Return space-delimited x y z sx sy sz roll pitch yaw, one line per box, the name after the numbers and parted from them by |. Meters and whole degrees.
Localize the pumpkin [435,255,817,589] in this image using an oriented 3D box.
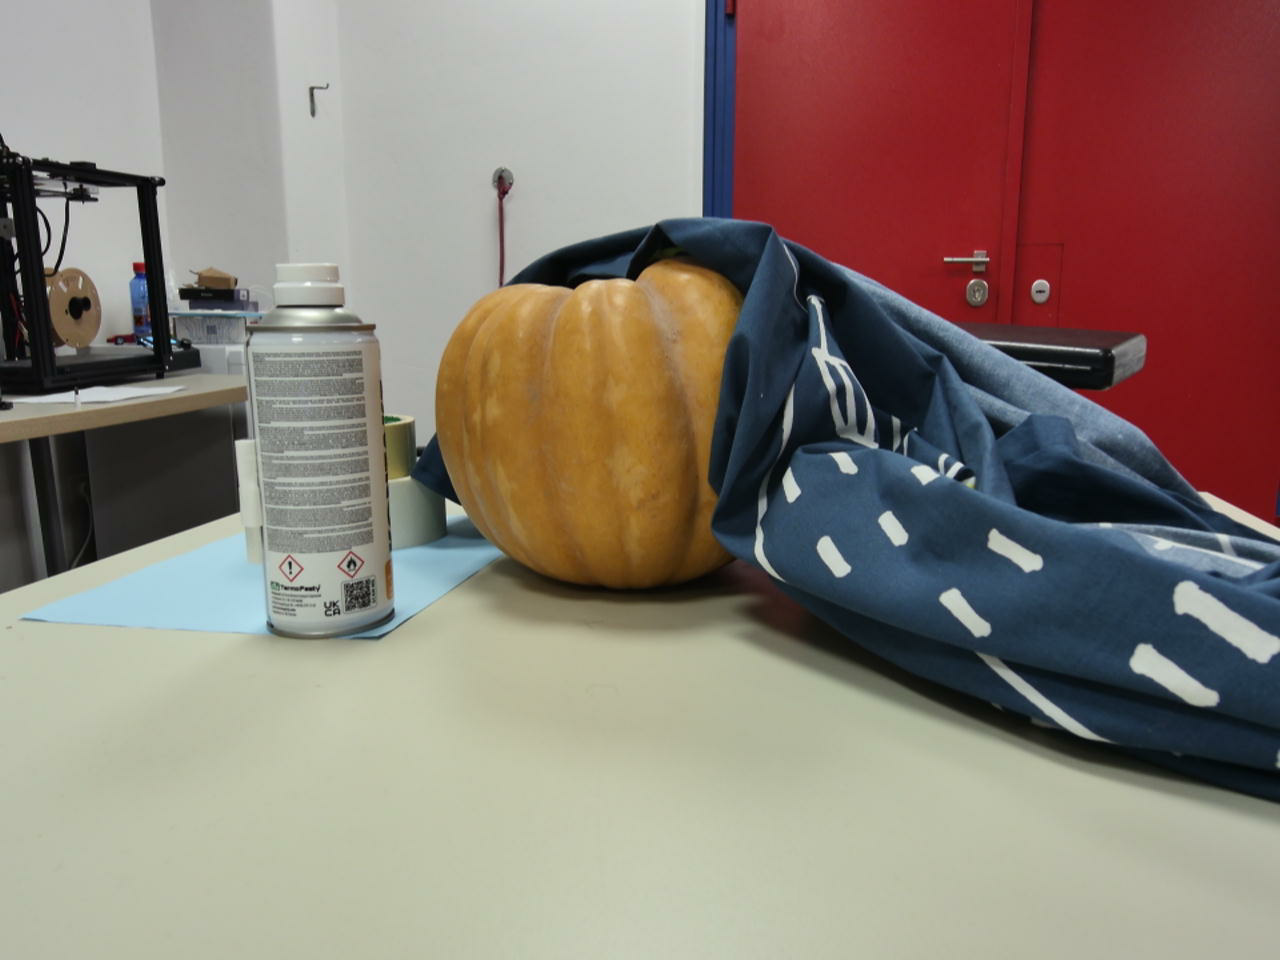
-0.005 -0.035 0.608 0.230 0.194 0.230 0 7 0 | pumpkin
